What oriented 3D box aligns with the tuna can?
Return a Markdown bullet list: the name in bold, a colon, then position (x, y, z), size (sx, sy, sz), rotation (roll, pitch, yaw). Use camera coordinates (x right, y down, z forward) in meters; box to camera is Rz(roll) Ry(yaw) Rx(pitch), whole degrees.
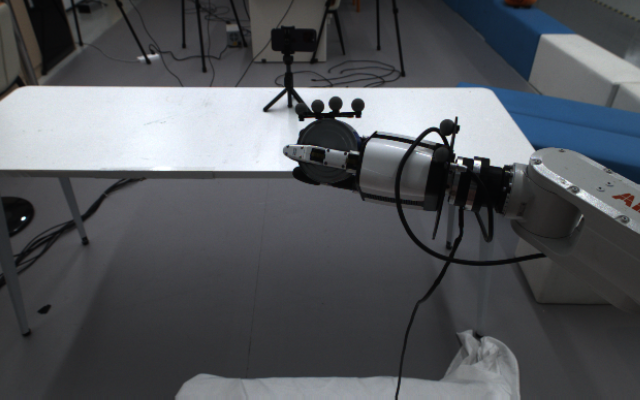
- **tuna can**: position (0.014, -0.067, 0.651), size (0.085, 0.085, 0.034), rotation (15, 10, 18)
